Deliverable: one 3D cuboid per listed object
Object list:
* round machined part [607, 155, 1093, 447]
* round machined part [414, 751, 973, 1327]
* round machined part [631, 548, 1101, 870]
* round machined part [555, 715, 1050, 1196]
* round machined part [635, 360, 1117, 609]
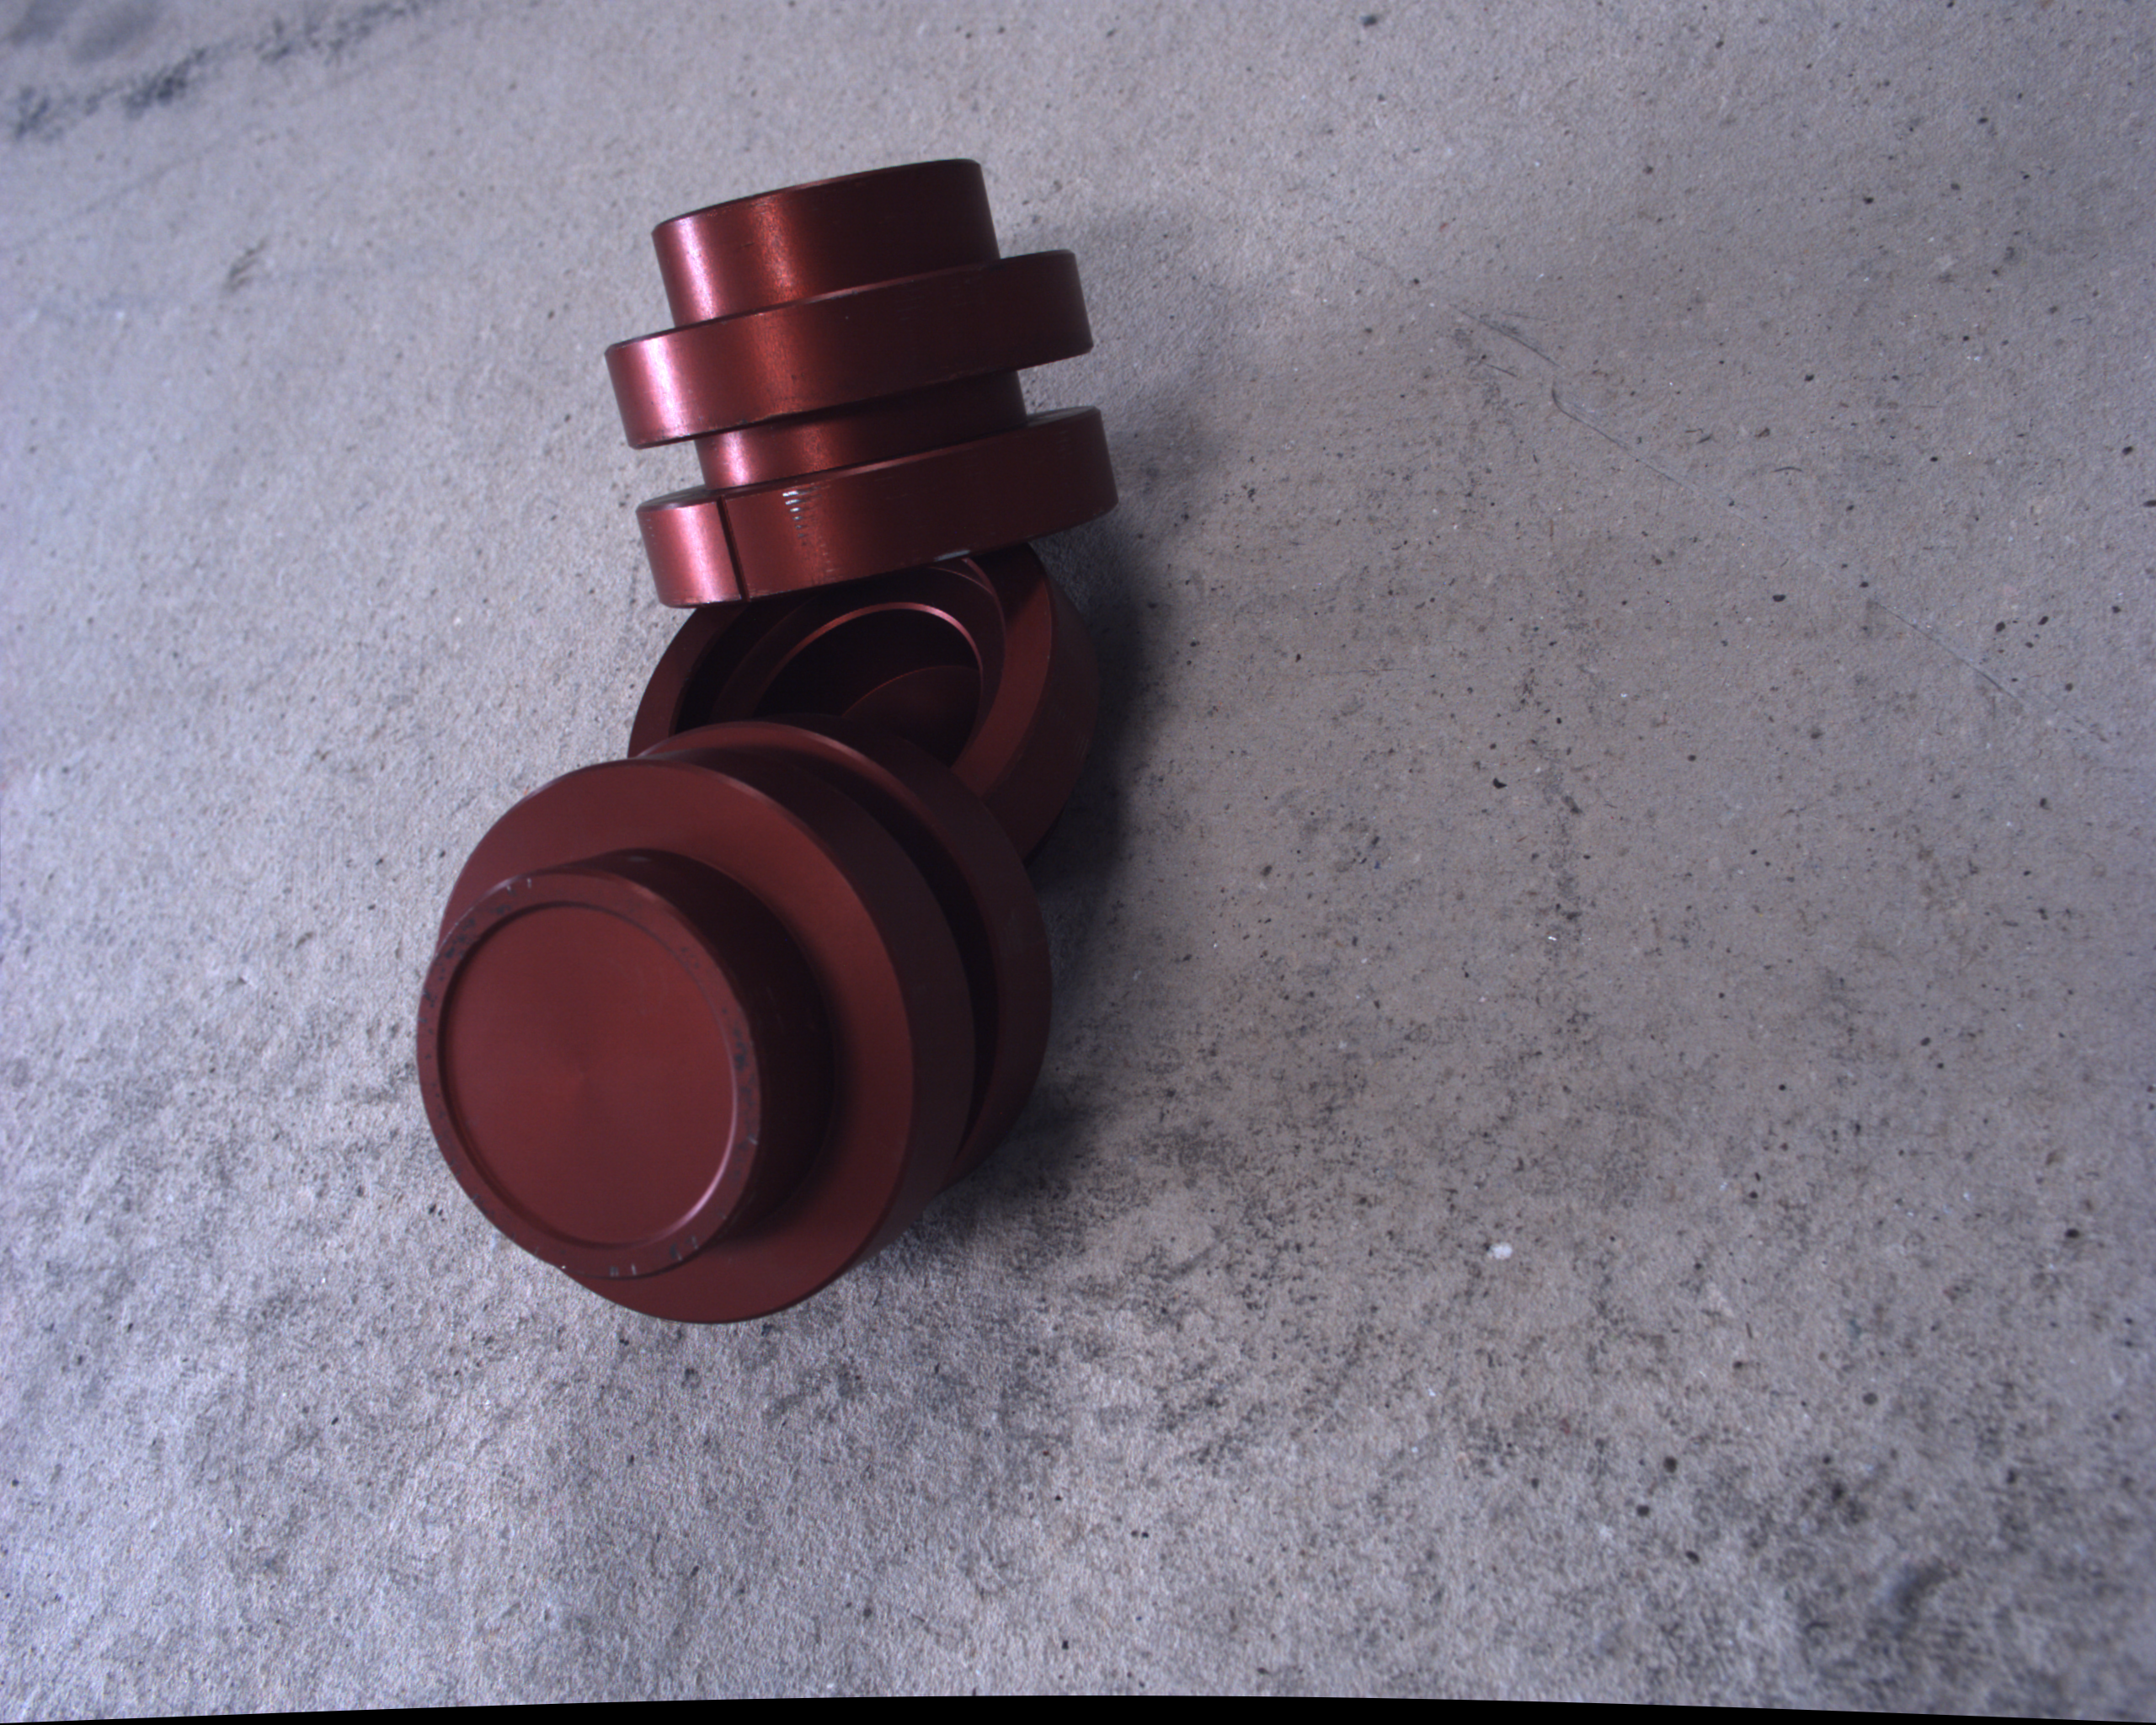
[{"bbox_3d":[-0.049,-0.117,0.430,0.099,0.042,0.098,-12,15,3],"label":"round machined part"},{"bbox_3d":[-0.071,0.031,0.351,0.098,0.042,0.097,3,99,23],"label":"round machined part"},{"bbox_3d":[-0.040,-0.024,0.431,0.098,0.042,0.098,-13,56,21],"label":"round machined part"},{"bbox_3d":[-0.058,0.023,0.379,0.098,0.042,0.097,4,100,23],"label":"round machined part"},{"bbox_3d":[-0.044,-0.085,0.435,0.099,0.042,0.098,-11,15,3],"label":"round machined part"}]
